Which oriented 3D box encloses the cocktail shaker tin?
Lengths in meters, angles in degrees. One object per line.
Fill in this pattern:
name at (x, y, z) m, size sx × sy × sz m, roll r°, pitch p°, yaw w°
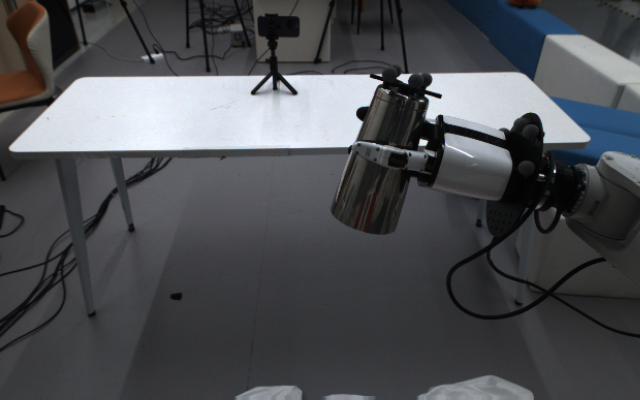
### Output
cocktail shaker tin at (0.081, -0.054, 0.614) m, size 0.093 × 0.170 × 0.093 m, roll 14°, pitch 22°, yaw -6°
